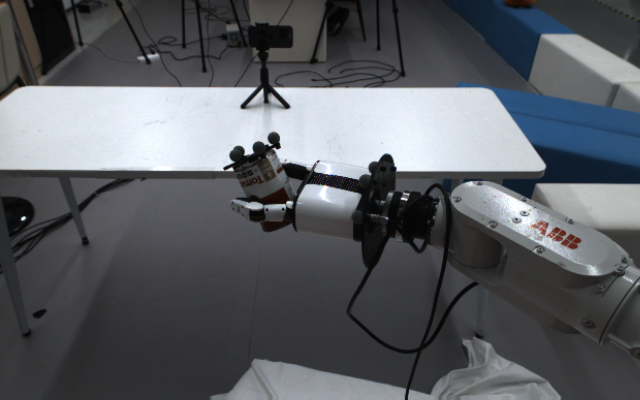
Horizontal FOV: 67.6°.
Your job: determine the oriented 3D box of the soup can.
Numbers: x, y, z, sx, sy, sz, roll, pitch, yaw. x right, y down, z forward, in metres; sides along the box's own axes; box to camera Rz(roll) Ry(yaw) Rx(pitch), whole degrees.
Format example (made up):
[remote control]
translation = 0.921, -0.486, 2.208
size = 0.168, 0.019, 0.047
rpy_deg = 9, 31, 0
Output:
[soup can]
translation = -0.074, -0.013, 0.703
size = 0.067, 0.101, 0.067
rpy_deg = -23, 16, 7
